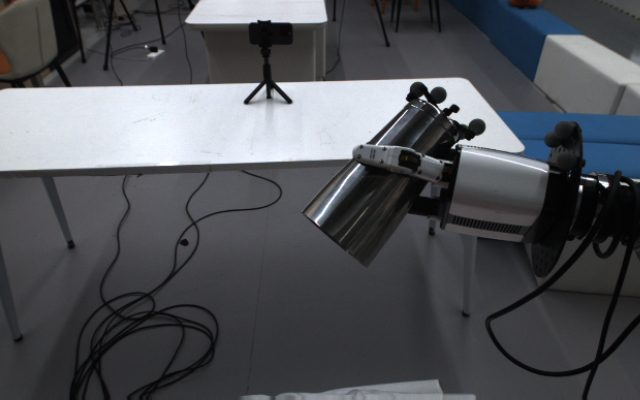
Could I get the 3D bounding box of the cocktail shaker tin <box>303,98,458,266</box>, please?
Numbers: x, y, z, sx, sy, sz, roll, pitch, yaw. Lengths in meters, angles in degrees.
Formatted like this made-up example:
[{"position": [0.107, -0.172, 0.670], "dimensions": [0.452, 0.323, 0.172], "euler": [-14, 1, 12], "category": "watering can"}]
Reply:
[{"position": [0.071, -0.025, 0.520], "dimensions": [0.170, 0.093, 0.093], "euler": [-48, 49, -3], "category": "cocktail shaker tin"}]
